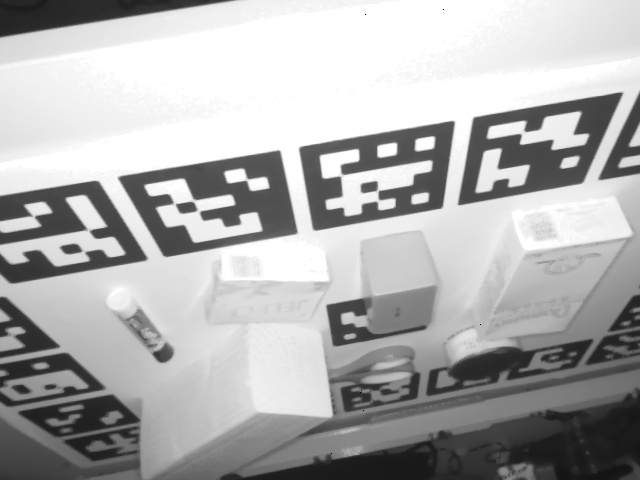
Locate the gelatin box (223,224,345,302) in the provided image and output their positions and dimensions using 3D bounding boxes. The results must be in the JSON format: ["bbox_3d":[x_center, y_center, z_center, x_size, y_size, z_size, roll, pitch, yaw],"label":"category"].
[{"bbox_3d":[-0.032,0.021,0.584,0.090,0.030,0.072,2,140,-18],"label":"gelatin box"}]

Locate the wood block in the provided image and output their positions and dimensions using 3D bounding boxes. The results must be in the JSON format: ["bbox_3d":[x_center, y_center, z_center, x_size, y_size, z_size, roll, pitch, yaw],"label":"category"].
[{"bbox_3d":[-0.085,0.157,0.702,0.091,0.091,0.203,21,133,-36],"label":"wood block"}]

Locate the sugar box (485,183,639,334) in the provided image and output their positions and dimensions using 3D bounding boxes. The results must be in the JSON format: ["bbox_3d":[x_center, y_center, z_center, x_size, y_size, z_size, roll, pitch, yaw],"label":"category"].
[{"bbox_3d":[0.216,0.023,0.642,0.093,0.045,0.175,-6,143,-5],"label":"sugar box"}]

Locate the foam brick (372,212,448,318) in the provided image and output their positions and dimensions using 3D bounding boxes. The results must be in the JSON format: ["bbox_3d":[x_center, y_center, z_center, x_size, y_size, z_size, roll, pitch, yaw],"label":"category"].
[{"bbox_3d":[0.074,0.022,0.588,0.053,0.051,0.077,-9,142,-4],"label":"foam brick"}]

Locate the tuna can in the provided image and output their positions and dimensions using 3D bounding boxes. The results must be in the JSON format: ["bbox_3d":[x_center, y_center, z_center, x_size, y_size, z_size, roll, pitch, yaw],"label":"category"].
[{"bbox_3d":[0.203,0.126,0.775,0.086,0.034,0.085,-8,142,-5],"label":"tuna can"}]

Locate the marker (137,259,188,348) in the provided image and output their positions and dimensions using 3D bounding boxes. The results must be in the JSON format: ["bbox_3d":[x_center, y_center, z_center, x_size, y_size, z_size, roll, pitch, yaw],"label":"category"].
[{"bbox_3d":[-0.137,0.060,0.611,0.020,0.020,0.120,-9,141,-3],"label":"marker"}]

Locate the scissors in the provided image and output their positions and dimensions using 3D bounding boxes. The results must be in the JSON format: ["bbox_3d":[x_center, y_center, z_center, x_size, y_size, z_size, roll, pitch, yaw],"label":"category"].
[{"bbox_3d":[0.030,0.149,0.780,0.204,0.016,0.087,-6,143,-10],"label":"scissors"}]
